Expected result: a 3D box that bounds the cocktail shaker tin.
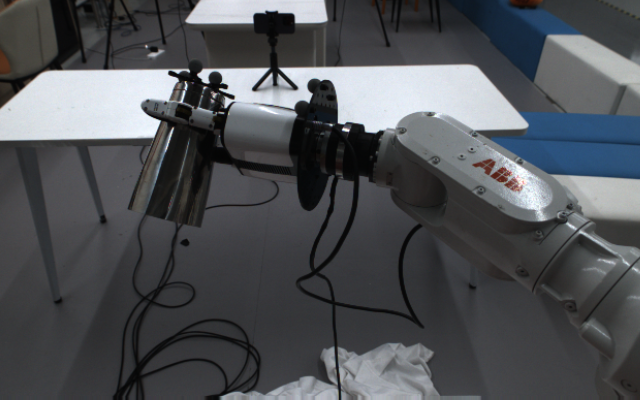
[{"bbox_3d":[-0.174,-0.060,0.619,0.093,0.170,0.093,15,-5,1],"label":"cocktail shaker tin"}]
